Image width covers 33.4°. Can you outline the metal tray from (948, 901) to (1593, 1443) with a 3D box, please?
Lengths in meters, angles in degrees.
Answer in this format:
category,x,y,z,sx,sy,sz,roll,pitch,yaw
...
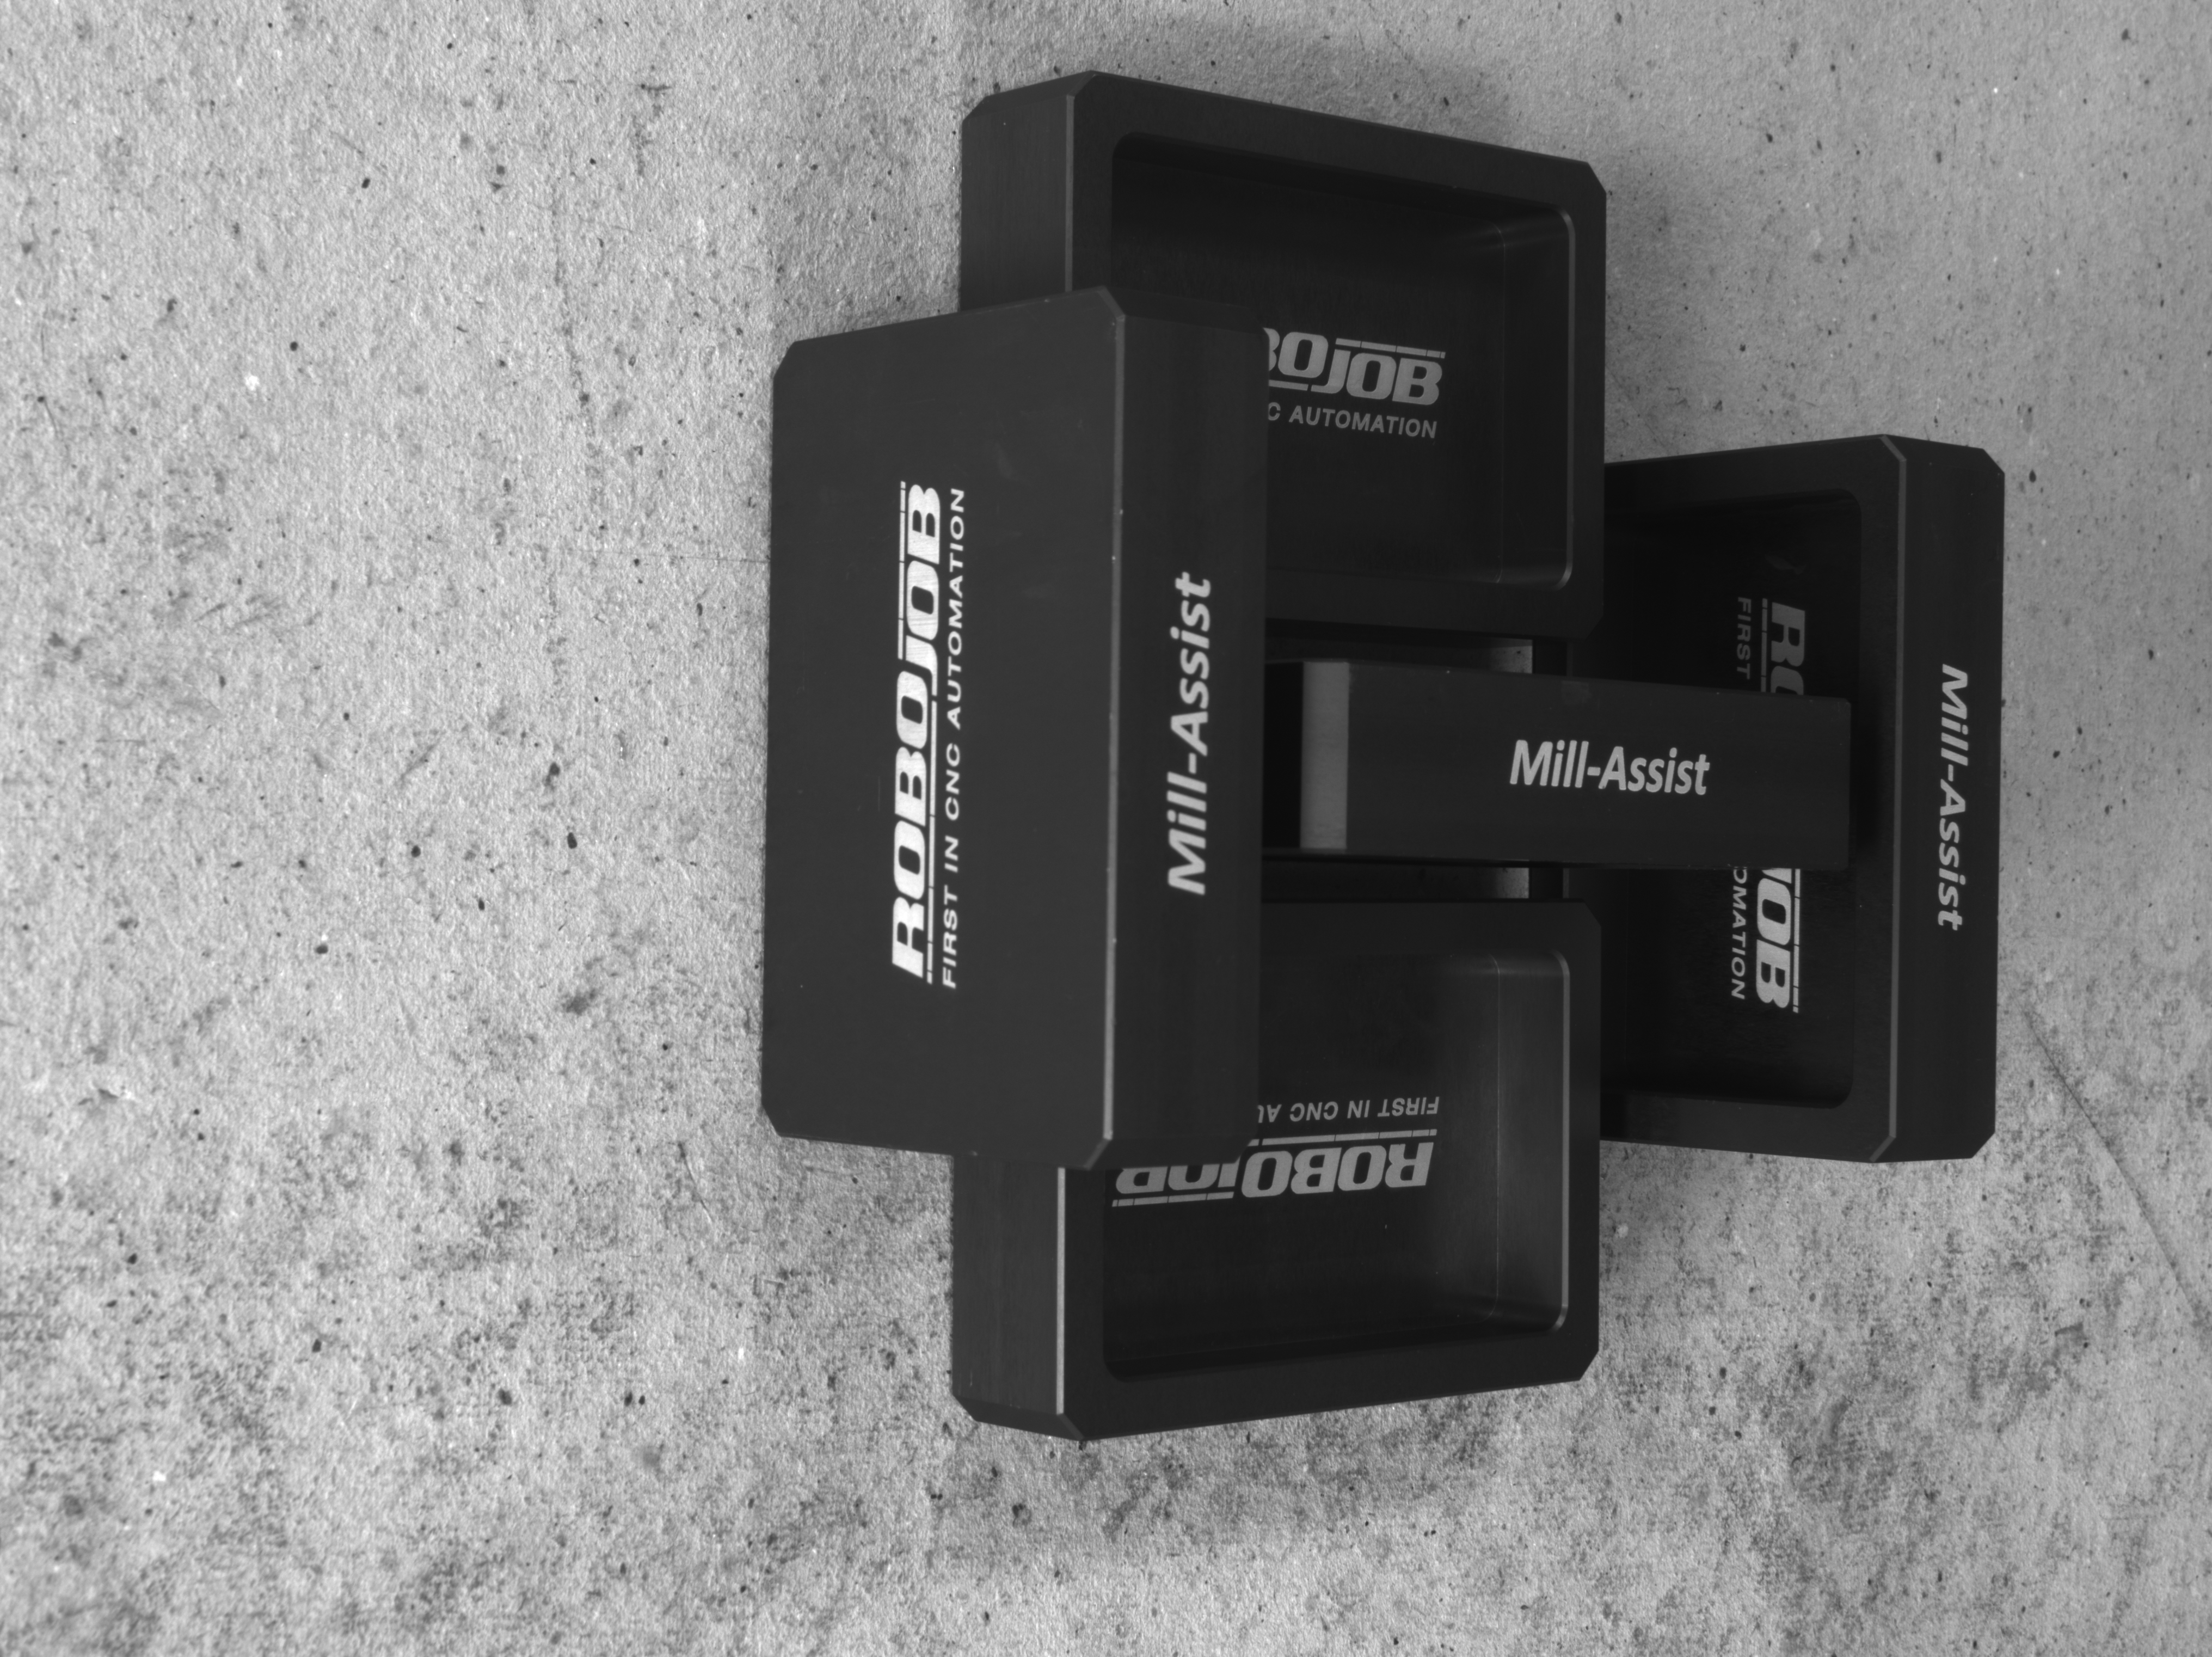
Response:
category,x,y,z,sx,sy,sz,roll,pitch,yaw
metal tray,0.032,0.058,0.662,0.130,0.030,0.090,1,88,-40

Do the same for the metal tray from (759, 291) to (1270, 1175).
category,x,y,z,sx,sy,sz,roll,pitch,yaw
metal tray,-0.016,-0.014,0.582,0.030,0.090,0.130,2,89,-40

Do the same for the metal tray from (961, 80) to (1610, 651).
category,x,y,z,sx,sy,sz,roll,pitch,yaw
metal tray,0.034,-0.079,0.662,0.130,0.030,0.090,1,92,-40

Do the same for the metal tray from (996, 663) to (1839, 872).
category,x,y,z,sx,sy,sz,roll,pitch,yaw
metal tray,0.053,-0.010,0.640,0.130,0.090,0.030,2,90,-40

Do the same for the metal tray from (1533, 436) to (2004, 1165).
category,x,y,z,sx,sy,sz,roll,pitch,yaw
metal tray,0.123,-0.005,0.697,0.030,0.090,0.130,2,89,-40
